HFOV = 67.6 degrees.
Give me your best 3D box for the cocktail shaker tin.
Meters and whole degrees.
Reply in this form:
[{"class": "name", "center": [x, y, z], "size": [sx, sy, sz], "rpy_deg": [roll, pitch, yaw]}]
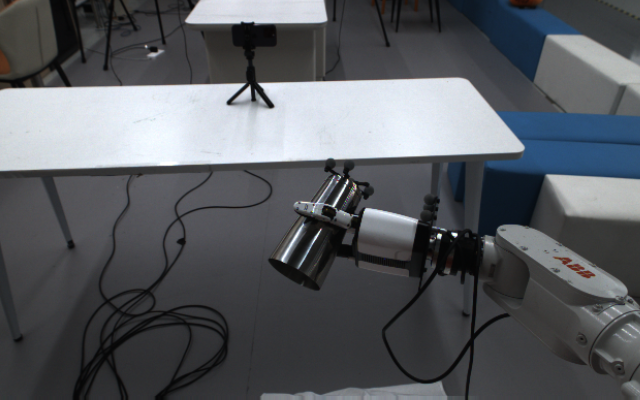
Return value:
[{"class": "cocktail shaker tin", "center": [0.002, 0.042, 0.765], "size": [0.093, 0.093, 0.170], "rpy_deg": [20, 67, 24]}]
